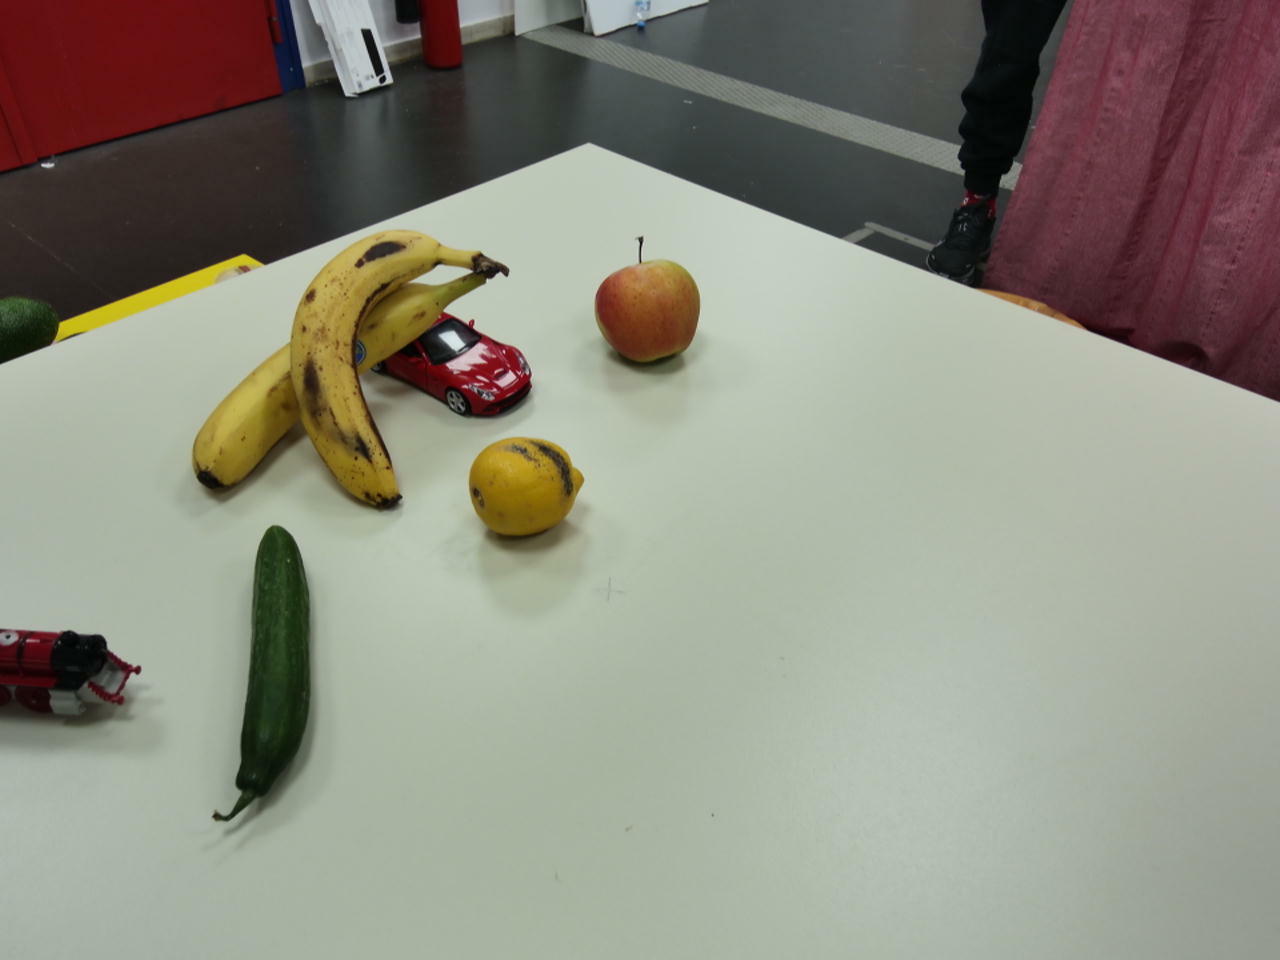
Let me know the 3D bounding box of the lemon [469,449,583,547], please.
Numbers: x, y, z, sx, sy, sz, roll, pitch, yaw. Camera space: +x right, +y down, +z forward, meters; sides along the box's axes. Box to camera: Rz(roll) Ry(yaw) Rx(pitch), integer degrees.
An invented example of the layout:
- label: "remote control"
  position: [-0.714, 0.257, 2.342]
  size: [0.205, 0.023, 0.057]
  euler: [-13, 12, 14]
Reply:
- label: "lemon"
  position: [-0.067, 0.010, 0.569]
  size: [0.058, 0.056, 0.061]
  euler: [23, 43, 26]
